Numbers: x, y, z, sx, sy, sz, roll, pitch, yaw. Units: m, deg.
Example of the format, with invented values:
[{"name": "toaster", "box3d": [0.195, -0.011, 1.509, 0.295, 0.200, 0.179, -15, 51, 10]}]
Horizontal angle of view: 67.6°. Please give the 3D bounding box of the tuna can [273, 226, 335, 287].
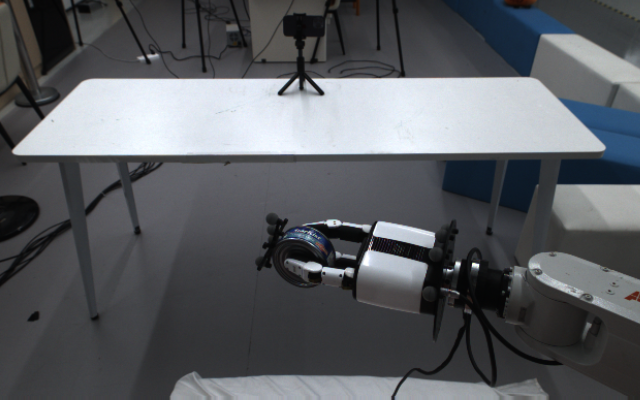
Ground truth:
[{"name": "tuna can", "box3d": [-0.020, 0.084, 0.676, 0.085, 0.085, 0.034, 12, 30, 14]}]
